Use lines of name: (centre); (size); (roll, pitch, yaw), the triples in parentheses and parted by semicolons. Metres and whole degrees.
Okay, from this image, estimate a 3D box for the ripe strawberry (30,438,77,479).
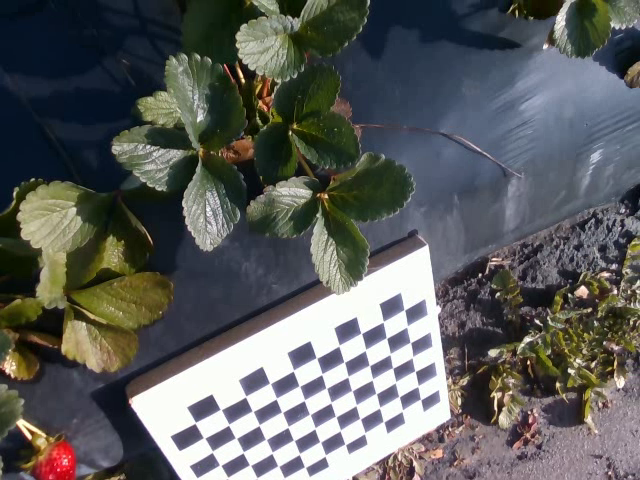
ripe strawberry: (-0.205, 0.178, 0.494); (0.040, 0.044, 0.037); (-40, 29, 2)
